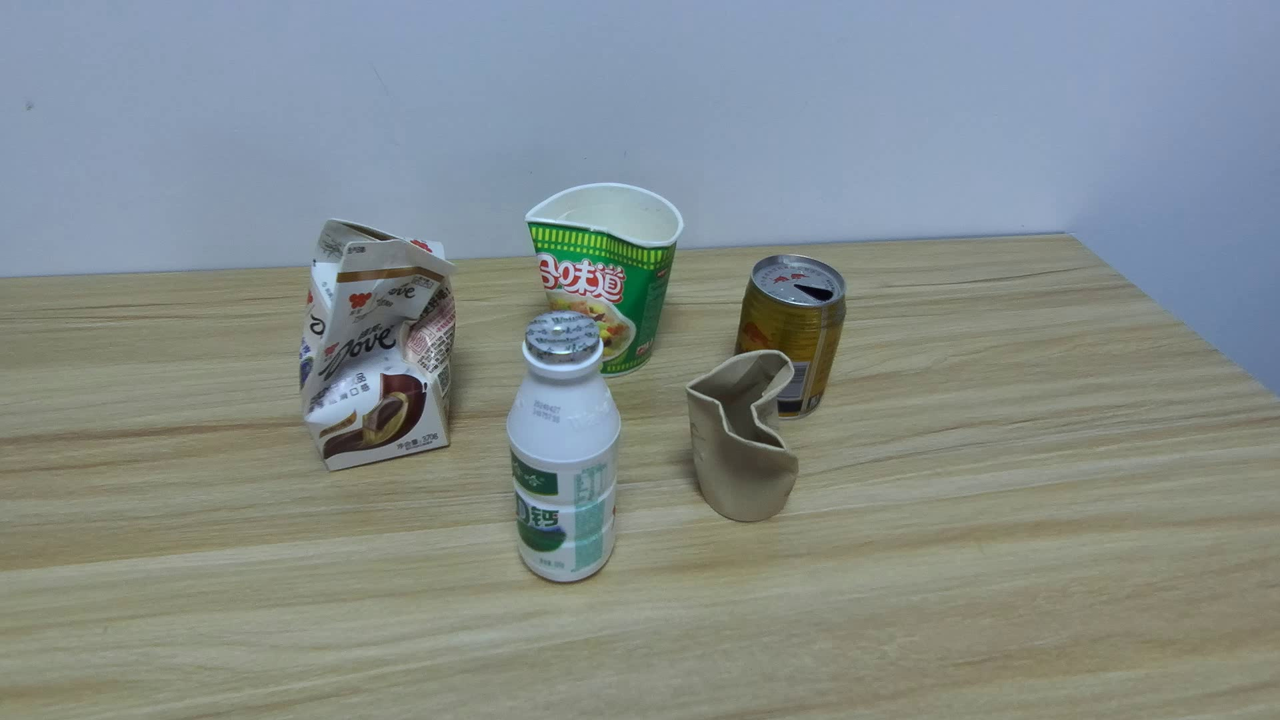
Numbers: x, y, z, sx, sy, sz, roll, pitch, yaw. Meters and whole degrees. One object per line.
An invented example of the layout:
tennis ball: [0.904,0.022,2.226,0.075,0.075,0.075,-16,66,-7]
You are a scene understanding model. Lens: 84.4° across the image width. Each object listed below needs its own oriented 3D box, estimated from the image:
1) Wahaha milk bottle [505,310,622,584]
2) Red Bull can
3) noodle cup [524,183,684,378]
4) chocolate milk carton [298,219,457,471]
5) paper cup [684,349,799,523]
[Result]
Wahaha milk bottle: [-0.036,0.046,0.339,0.053,0.147,0.053,1,37,-1]
Red Bull can: [0.096,-0.015,0.467,0.068,0.093,0.068,2,39,-2]
noodle cup: [-0.018,-0.052,0.489,0.093,0.109,0.087,32,48,30]
chocolate milk carton: [-0.149,-0.015,0.408,0.089,0.155,0.076,-3,43,-29]
paper cup: [0.065,0.047,0.393,0.067,0.083,0.058,-27,50,-30]
